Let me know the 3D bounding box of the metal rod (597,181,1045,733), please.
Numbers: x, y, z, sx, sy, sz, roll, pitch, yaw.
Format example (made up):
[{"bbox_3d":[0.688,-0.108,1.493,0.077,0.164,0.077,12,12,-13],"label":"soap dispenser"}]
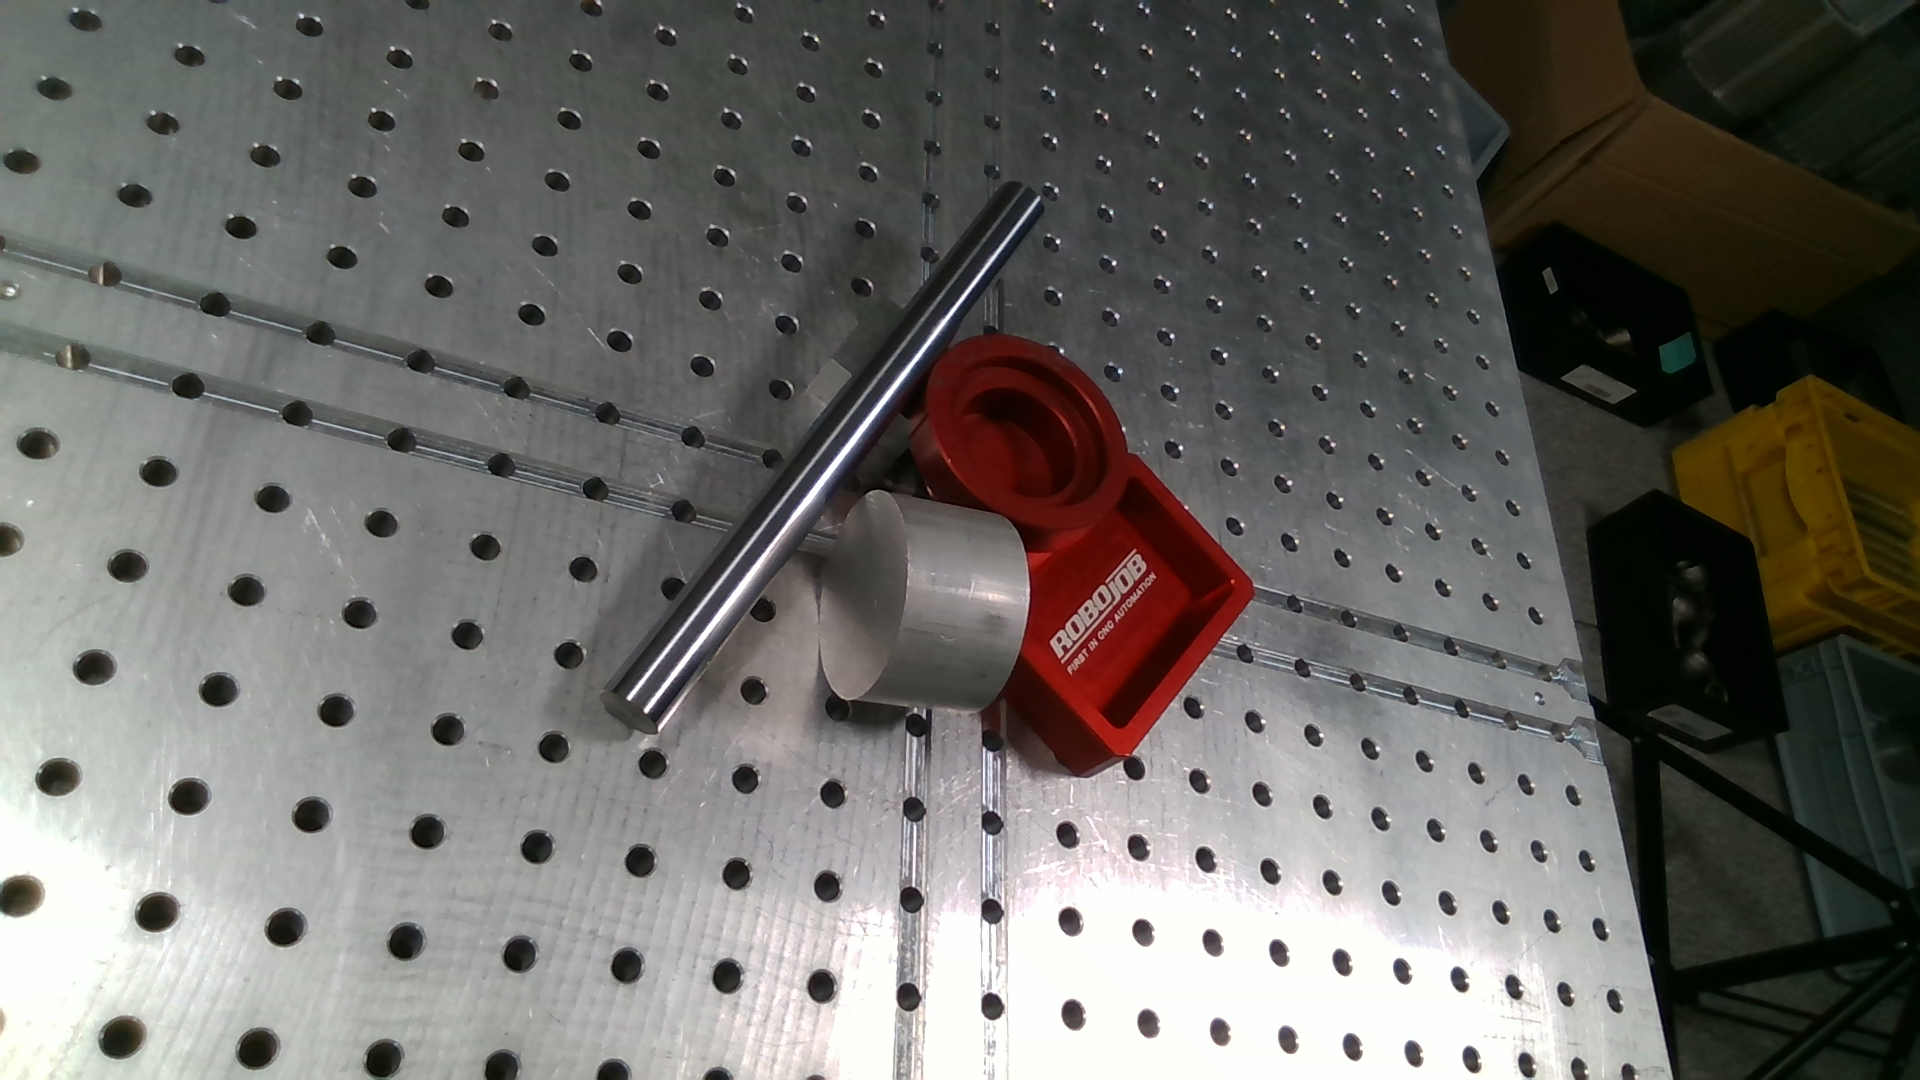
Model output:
[{"bbox_3d":[-0.045,-0.047,0.561,0.025,0.025,0.299,39,60,-8],"label":"metal rod"}]

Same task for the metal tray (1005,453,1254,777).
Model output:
[{"bbox_3d":[0.066,0.030,0.609,0.090,0.030,0.130,48,50,-1],"label":"metal tray"}]

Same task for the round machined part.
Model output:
[{"bbox_3d":[0.022,-0.038,0.602,0.098,0.042,0.098,16,56,-24],"label":"round machined part"}]

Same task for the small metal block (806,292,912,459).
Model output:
[{"bbox_3d":[-0.031,-0.073,0.609,0.050,0.025,0.050,38,52,-9],"label":"small metal block"}]

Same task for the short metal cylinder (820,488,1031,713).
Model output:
[{"bbox_3d":[-0.015,0.024,0.530,0.050,0.080,0.080,10,60,-27],"label":"short metal cylinder"}]
